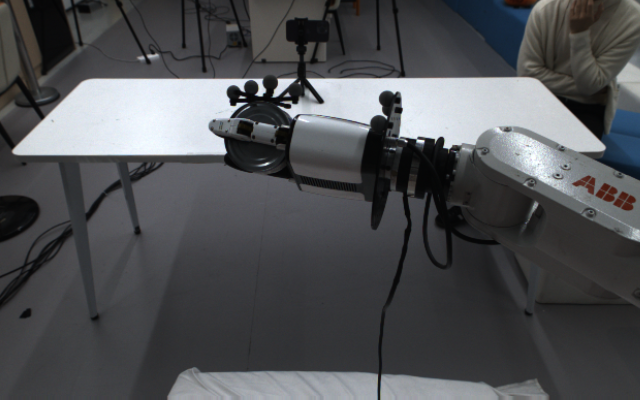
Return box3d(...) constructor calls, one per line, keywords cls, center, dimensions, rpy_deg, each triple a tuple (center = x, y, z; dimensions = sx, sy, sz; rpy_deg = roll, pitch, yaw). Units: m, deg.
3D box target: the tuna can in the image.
box3d(cls="tuna can", center=(-0.070, -0.075, 0.591), dimensions=(0.085, 0.085, 0.034), rpy_deg=(12, -1, 14))
